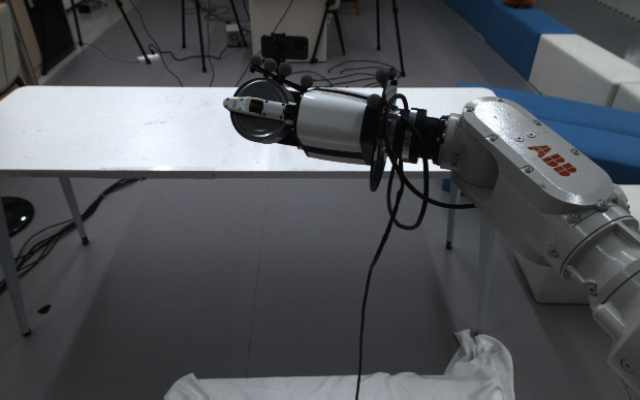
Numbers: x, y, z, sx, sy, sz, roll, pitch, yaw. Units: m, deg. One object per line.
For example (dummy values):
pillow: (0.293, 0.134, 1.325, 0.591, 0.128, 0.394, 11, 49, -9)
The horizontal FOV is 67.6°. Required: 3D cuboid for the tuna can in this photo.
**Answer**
tuna can: (-0.074, -0.120, 0.655, 0.085, 0.085, 0.034, 13, 3, 16)
